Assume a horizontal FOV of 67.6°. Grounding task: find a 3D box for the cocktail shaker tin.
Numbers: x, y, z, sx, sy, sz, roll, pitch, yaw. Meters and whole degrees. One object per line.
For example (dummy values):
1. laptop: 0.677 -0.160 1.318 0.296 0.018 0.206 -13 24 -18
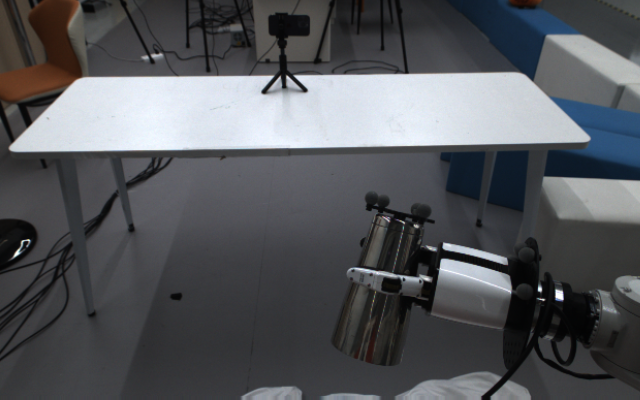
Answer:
1. cocktail shaker tin: 0.079 0.107 0.611 0.093 0.170 0.093 14 2 0
